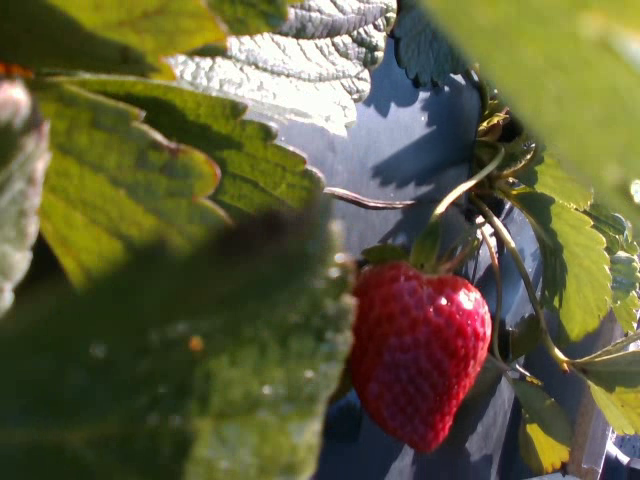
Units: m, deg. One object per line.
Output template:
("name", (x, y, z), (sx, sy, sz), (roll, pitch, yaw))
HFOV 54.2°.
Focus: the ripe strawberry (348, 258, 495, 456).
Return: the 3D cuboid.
("ripe strawberry", (0.023, 0.026, 0.154), (0.044, 0.056, 0.042), (6, -20, -4))
